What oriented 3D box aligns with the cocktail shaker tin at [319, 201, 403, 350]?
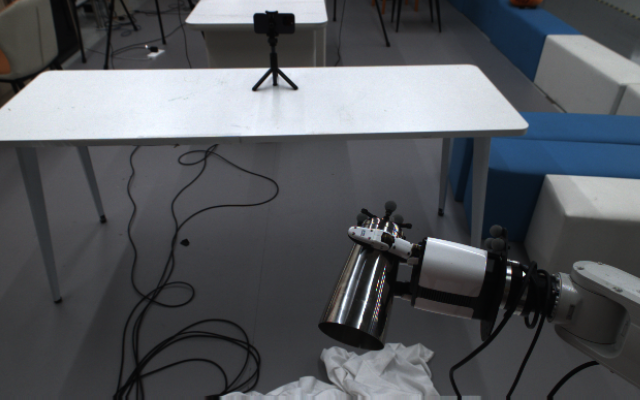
[{"bbox_3d":[0.066,0.110,0.687,0.093,0.093,0.170,14,59,16],"label":"cocktail shaker tin"}]
